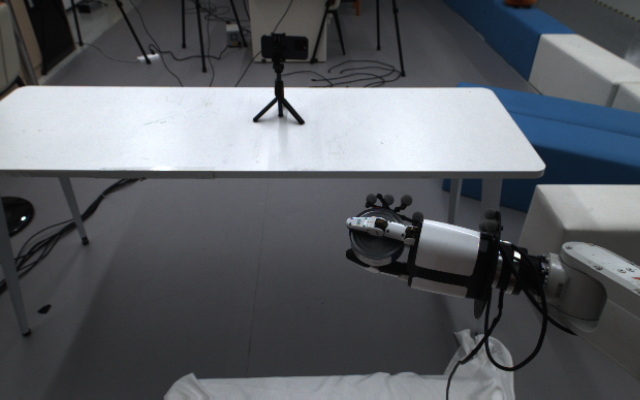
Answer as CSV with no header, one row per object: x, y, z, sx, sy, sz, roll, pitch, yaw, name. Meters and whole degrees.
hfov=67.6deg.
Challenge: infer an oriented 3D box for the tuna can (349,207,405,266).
0.089,0.054,0.737,0.085,0.034,0.085,-4,56,6,tuna can
